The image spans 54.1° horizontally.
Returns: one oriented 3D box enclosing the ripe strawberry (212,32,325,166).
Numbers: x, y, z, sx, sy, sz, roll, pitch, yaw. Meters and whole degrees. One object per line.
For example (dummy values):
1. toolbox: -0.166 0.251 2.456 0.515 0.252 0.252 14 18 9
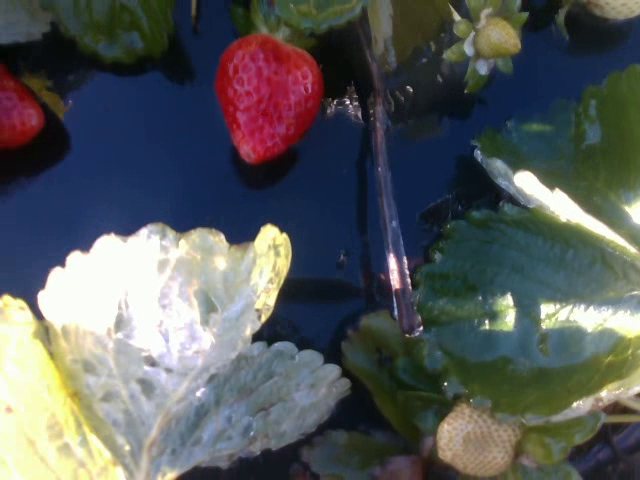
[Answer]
1. ripe strawberry: -0.014 -0.041 0.190 0.039 0.047 0.040 11 -10 -14
